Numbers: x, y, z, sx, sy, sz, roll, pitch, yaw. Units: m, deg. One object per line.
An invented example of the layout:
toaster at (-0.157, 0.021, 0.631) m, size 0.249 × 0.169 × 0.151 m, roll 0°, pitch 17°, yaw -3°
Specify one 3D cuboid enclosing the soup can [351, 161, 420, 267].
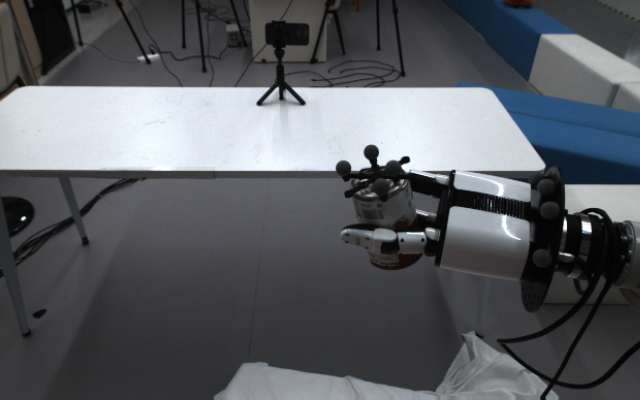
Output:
soup can at (0.080, 0.020, 0.555) m, size 0.067 × 0.101 × 0.067 m, roll -13°, pitch 30°, yaw 8°
